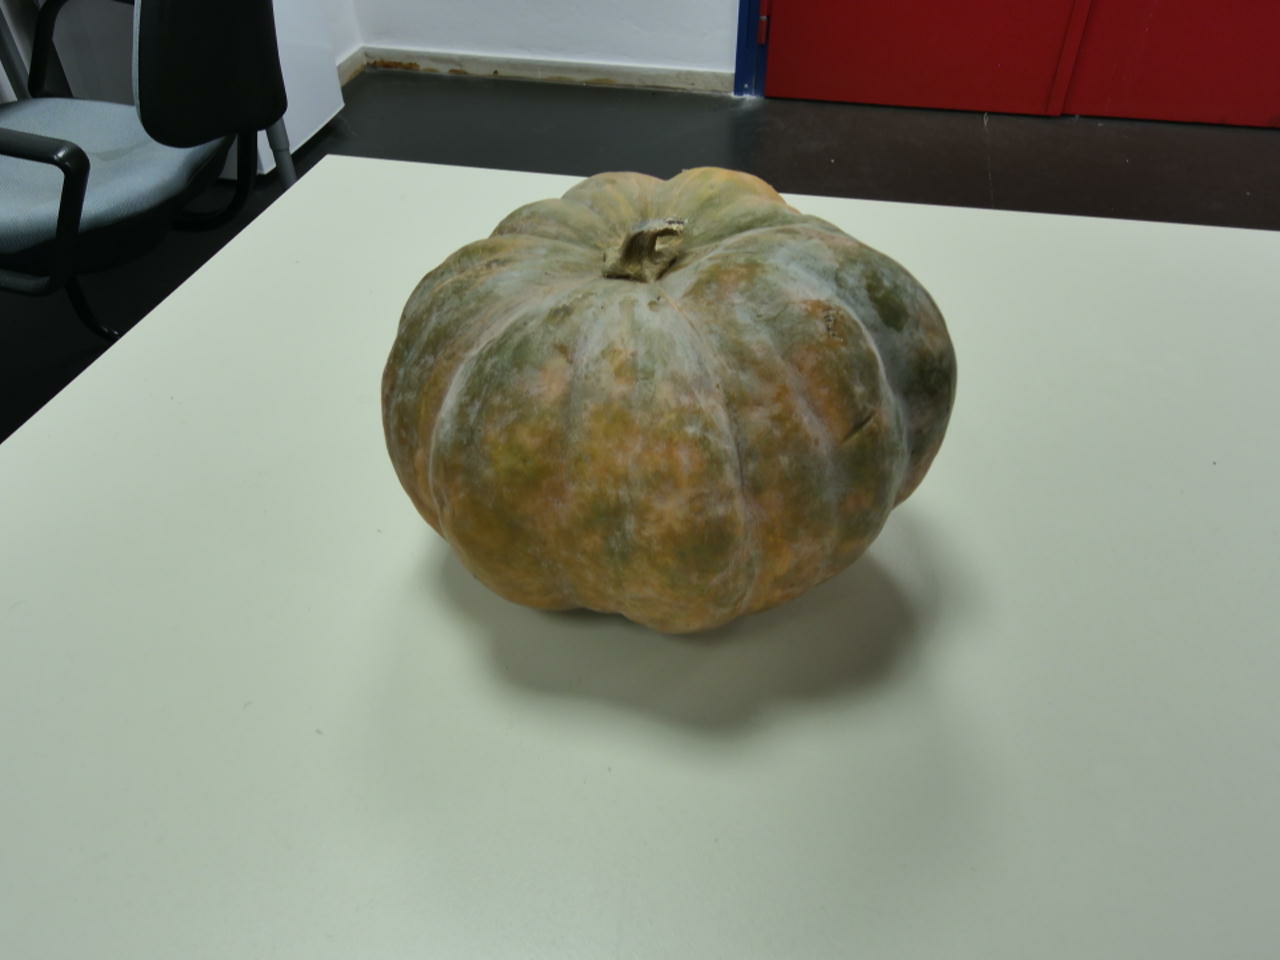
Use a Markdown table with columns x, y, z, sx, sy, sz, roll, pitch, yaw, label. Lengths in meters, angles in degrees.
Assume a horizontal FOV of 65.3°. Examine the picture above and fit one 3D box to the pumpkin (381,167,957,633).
| x | y | z | sx | sy | sz | roll | pitch | yaw | label |
| --- | --- | --- | --- | --- | --- | --- | --- | --- | --- |
| 0.006 | -0.043 | 0.458 | 0.252 | 0.169 | 0.251 | 0 | 39 | 0 | pumpkin |
